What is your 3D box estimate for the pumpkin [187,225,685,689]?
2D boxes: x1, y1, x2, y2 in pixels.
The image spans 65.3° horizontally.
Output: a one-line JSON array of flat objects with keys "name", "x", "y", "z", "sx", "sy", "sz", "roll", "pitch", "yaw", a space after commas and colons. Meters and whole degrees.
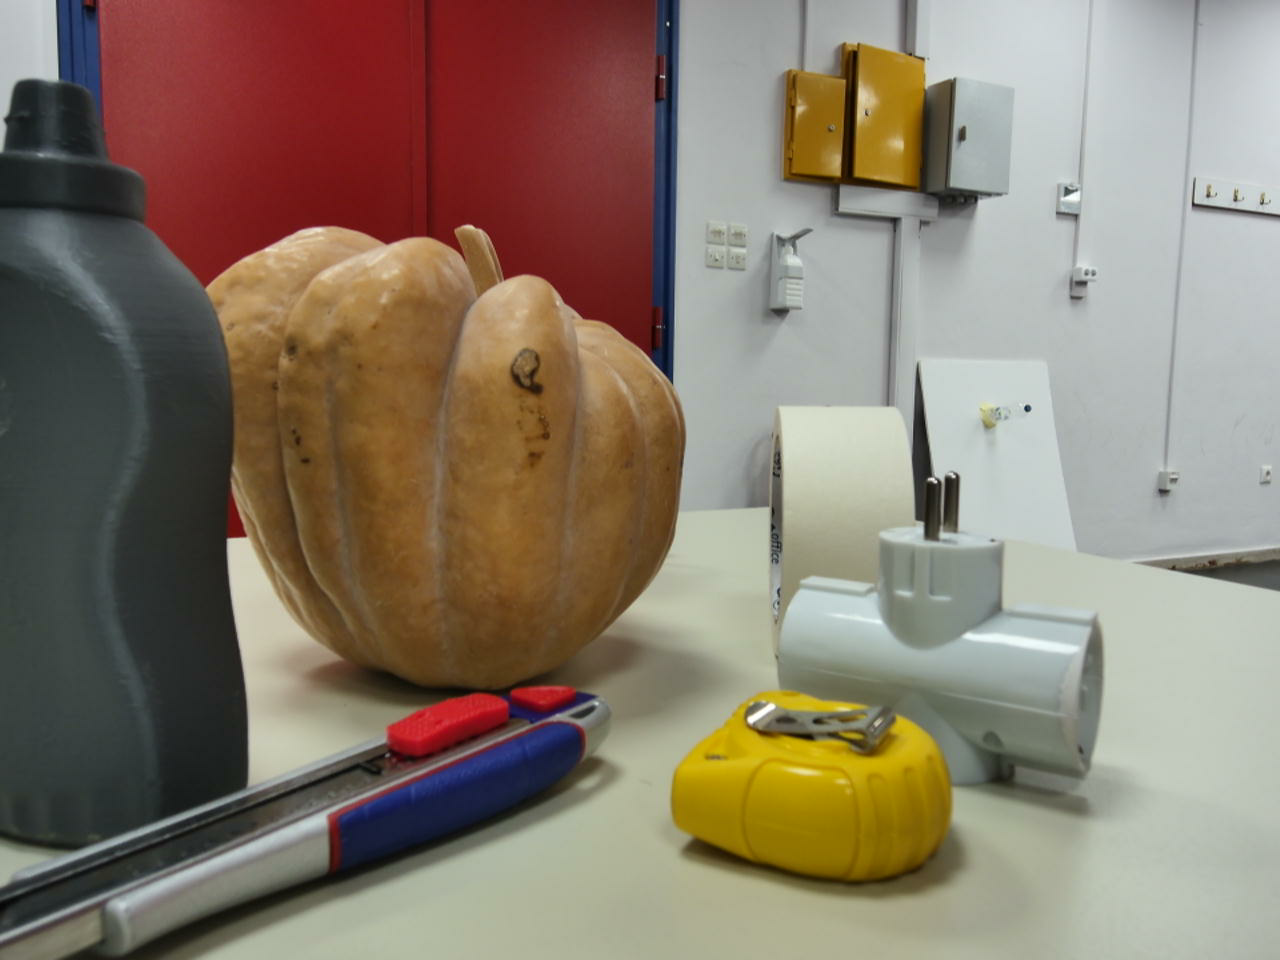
[{"name": "pumpkin", "x": -0.077, "y": -0.010, "z": 0.398, "sx": 0.199, "sy": 0.177, "sz": 0.198, "roll": 0, "pitch": 4, "yaw": 0}]
